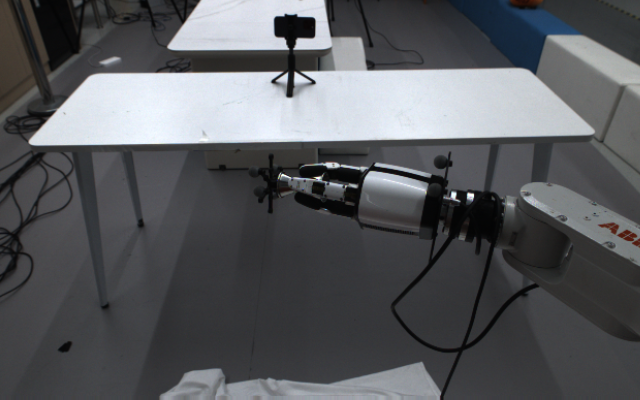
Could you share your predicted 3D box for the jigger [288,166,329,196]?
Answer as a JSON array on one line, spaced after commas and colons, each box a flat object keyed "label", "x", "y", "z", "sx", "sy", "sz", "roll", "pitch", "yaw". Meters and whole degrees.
[{"label": "jigger", "x": -0.017, "y": -0.025, "z": 0.705, "sx": 0.071, "sy": 0.043, "sz": 0.043, "roll": 3, "pitch": 34, "yaw": 17}]
